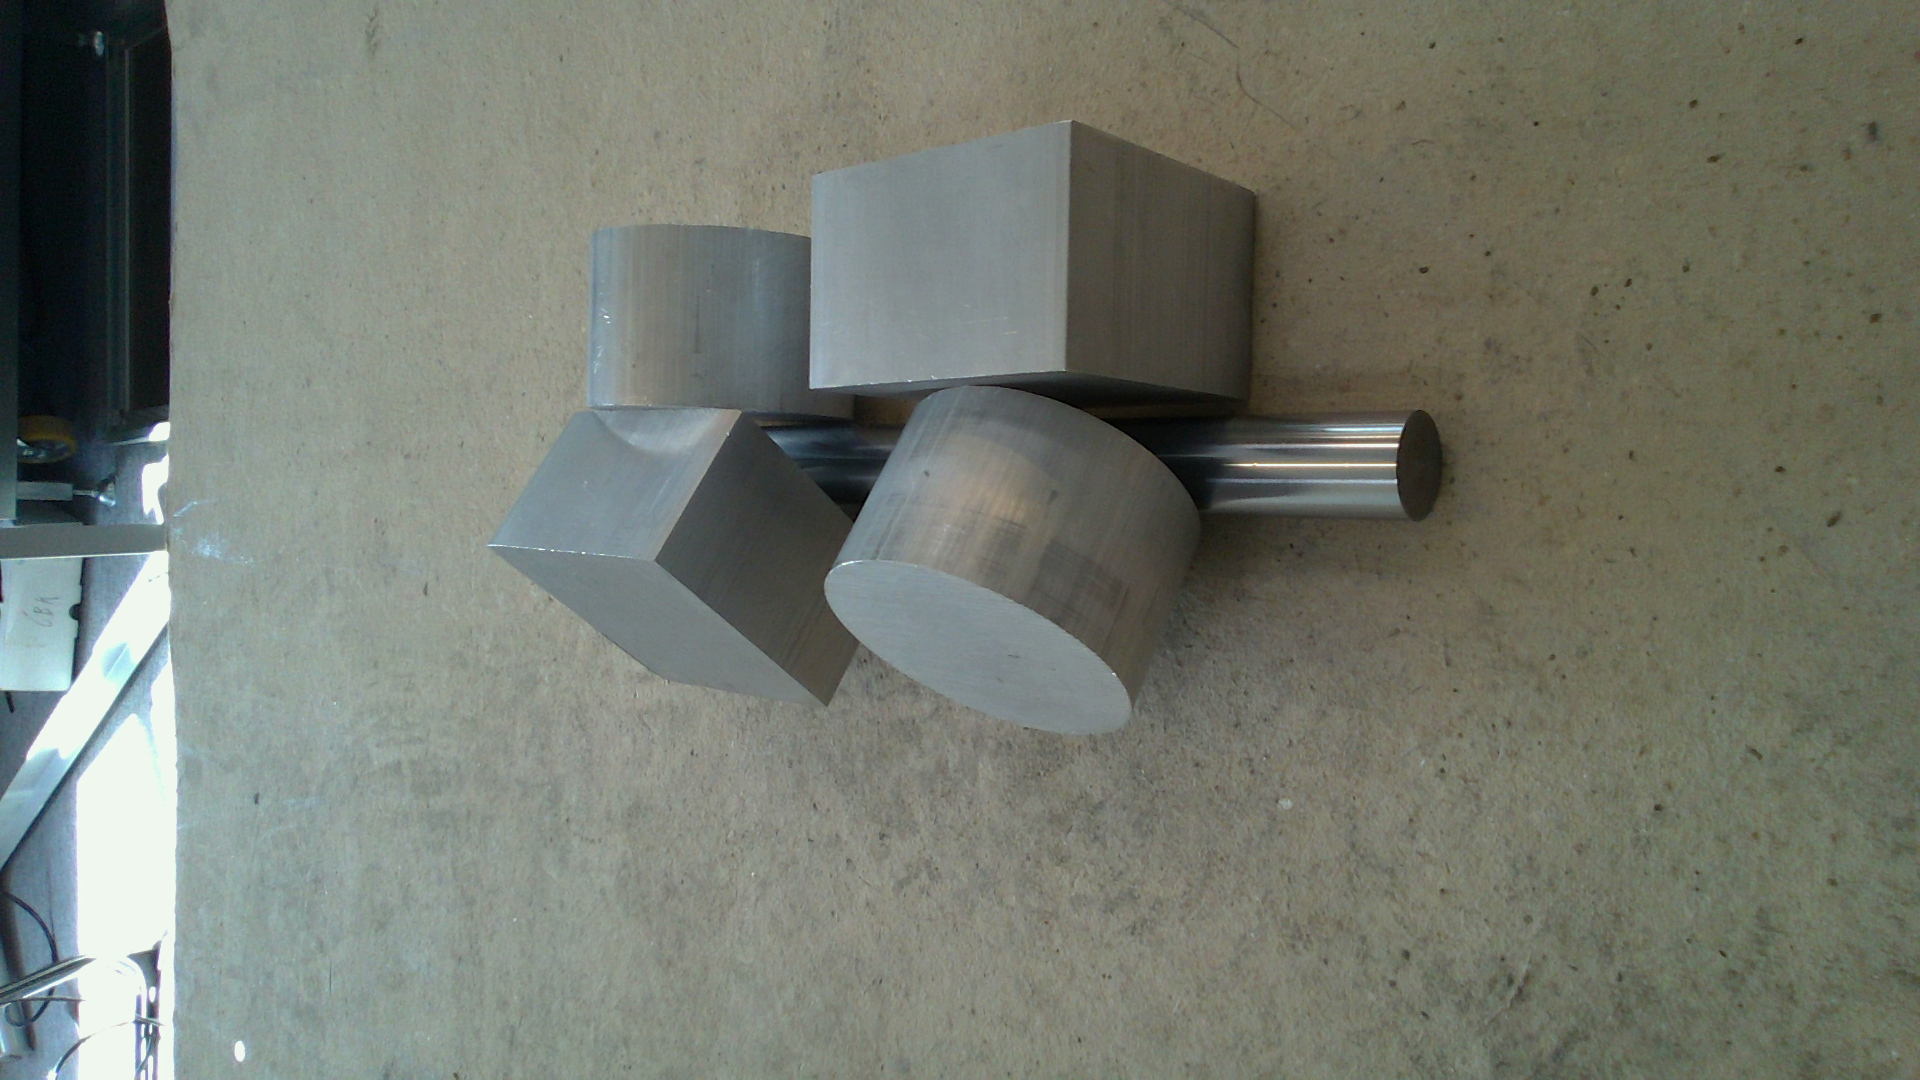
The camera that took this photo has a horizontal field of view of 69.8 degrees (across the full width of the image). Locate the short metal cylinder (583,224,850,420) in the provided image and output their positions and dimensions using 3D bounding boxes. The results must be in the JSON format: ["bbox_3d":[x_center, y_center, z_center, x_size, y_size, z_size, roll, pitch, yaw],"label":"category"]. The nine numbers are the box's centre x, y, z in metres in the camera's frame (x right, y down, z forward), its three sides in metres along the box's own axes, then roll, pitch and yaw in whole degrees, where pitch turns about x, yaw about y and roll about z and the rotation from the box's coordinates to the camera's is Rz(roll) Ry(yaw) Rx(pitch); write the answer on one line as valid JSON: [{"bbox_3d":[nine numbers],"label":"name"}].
[{"bbox_3d":[-0.073,-0.064,0.420,0.080,0.080,0.050,4,93,40],"label":"short metal cylinder"}]

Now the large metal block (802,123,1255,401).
[{"bbox_3d":[0.018,-0.063,0.343,0.080,0.080,0.050,2,91,40],"label":"large metal block"}]

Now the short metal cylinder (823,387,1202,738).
[{"bbox_3d":[0.013,0.007,0.340,0.080,0.080,0.050,2,57,40],"label":"short metal cylinder"}]

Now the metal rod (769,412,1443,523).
[{"bbox_3d":[-0.010,-0.022,0.406,0.299,0.025,0.025,3,92,40],"label":"metal rod"}]

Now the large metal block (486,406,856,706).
[{"bbox_3d":[-0.079,0.005,0.418,0.080,0.080,0.050,3,58,40],"label":"large metal block"}]
